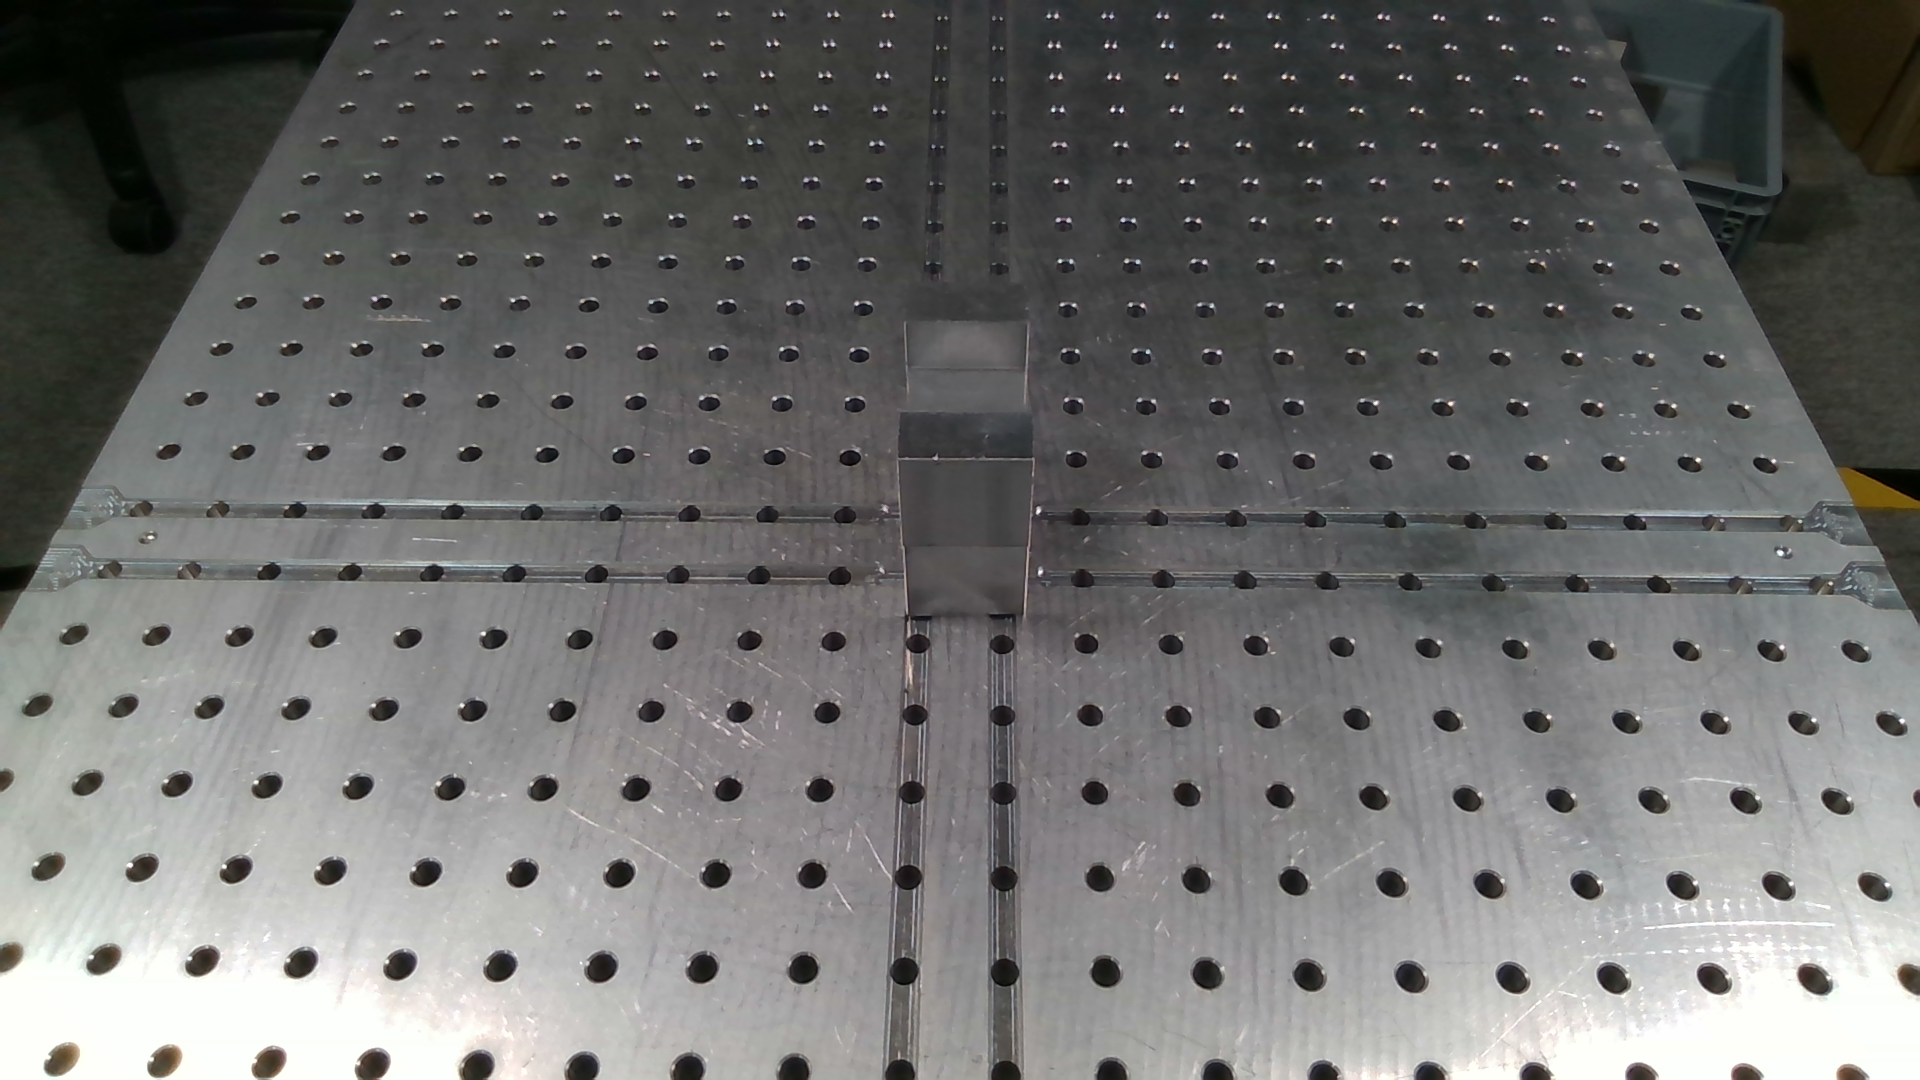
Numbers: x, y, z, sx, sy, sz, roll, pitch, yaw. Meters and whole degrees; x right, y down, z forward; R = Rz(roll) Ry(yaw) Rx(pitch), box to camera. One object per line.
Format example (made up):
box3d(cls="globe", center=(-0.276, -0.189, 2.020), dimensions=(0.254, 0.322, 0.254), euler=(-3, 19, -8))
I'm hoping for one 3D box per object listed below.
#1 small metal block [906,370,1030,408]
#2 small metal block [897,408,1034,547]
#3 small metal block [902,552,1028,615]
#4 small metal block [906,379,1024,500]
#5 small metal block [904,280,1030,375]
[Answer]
box3d(cls="small metal block", center=(0.003, -0.043, 0.562), dimensions=(0.050, 0.025, 0.050), euler=(0, 50, 0))
box3d(cls="small metal block", center=(0.002, -0.023, 0.526), dimensions=(0.050, 0.050, 0.025), euler=(1, 50, 0))
box3d(cls="small metal block", center=(0.002, 0.006, 0.569), dimensions=(0.050, 0.050, 0.025), euler=(-1, 50, -1))
box3d(cls="small metal block", center=(0.002, -0.044, 0.610), dimensions=(0.050, 0.050, 0.025), euler=(0, 50, 0))
box3d(cls="small metal block", center=(0.003, -0.081, 0.575), dimensions=(0.050, 0.050, 0.025), euler=(1, 50, 0))
